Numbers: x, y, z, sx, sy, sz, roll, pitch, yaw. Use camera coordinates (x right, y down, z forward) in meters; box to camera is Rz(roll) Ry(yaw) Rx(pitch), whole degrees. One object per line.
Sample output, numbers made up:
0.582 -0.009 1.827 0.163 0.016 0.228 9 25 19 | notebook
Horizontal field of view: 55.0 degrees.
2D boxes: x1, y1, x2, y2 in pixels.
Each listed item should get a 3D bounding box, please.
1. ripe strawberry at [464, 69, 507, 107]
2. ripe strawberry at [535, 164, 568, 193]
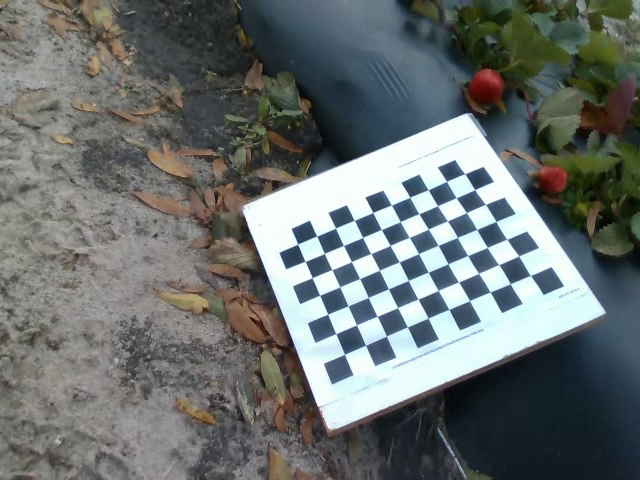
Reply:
0.218 -0.194 0.773 0.047 0.042 0.065 -19 10 1 | ripe strawberry
0.268 -0.067 0.700 0.042 0.040 0.037 15 -38 -40 | ripe strawberry
